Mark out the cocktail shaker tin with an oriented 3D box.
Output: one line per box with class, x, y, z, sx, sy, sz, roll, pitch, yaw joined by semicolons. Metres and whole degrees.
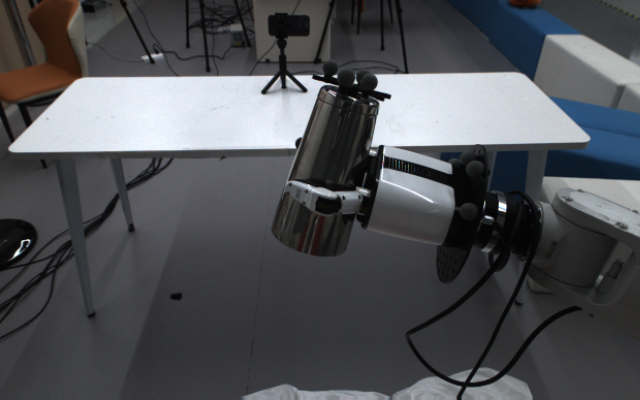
cocktail shaker tin;0.011;-0.034;0.539;0.093;0.170;0.093;15;20;-5
